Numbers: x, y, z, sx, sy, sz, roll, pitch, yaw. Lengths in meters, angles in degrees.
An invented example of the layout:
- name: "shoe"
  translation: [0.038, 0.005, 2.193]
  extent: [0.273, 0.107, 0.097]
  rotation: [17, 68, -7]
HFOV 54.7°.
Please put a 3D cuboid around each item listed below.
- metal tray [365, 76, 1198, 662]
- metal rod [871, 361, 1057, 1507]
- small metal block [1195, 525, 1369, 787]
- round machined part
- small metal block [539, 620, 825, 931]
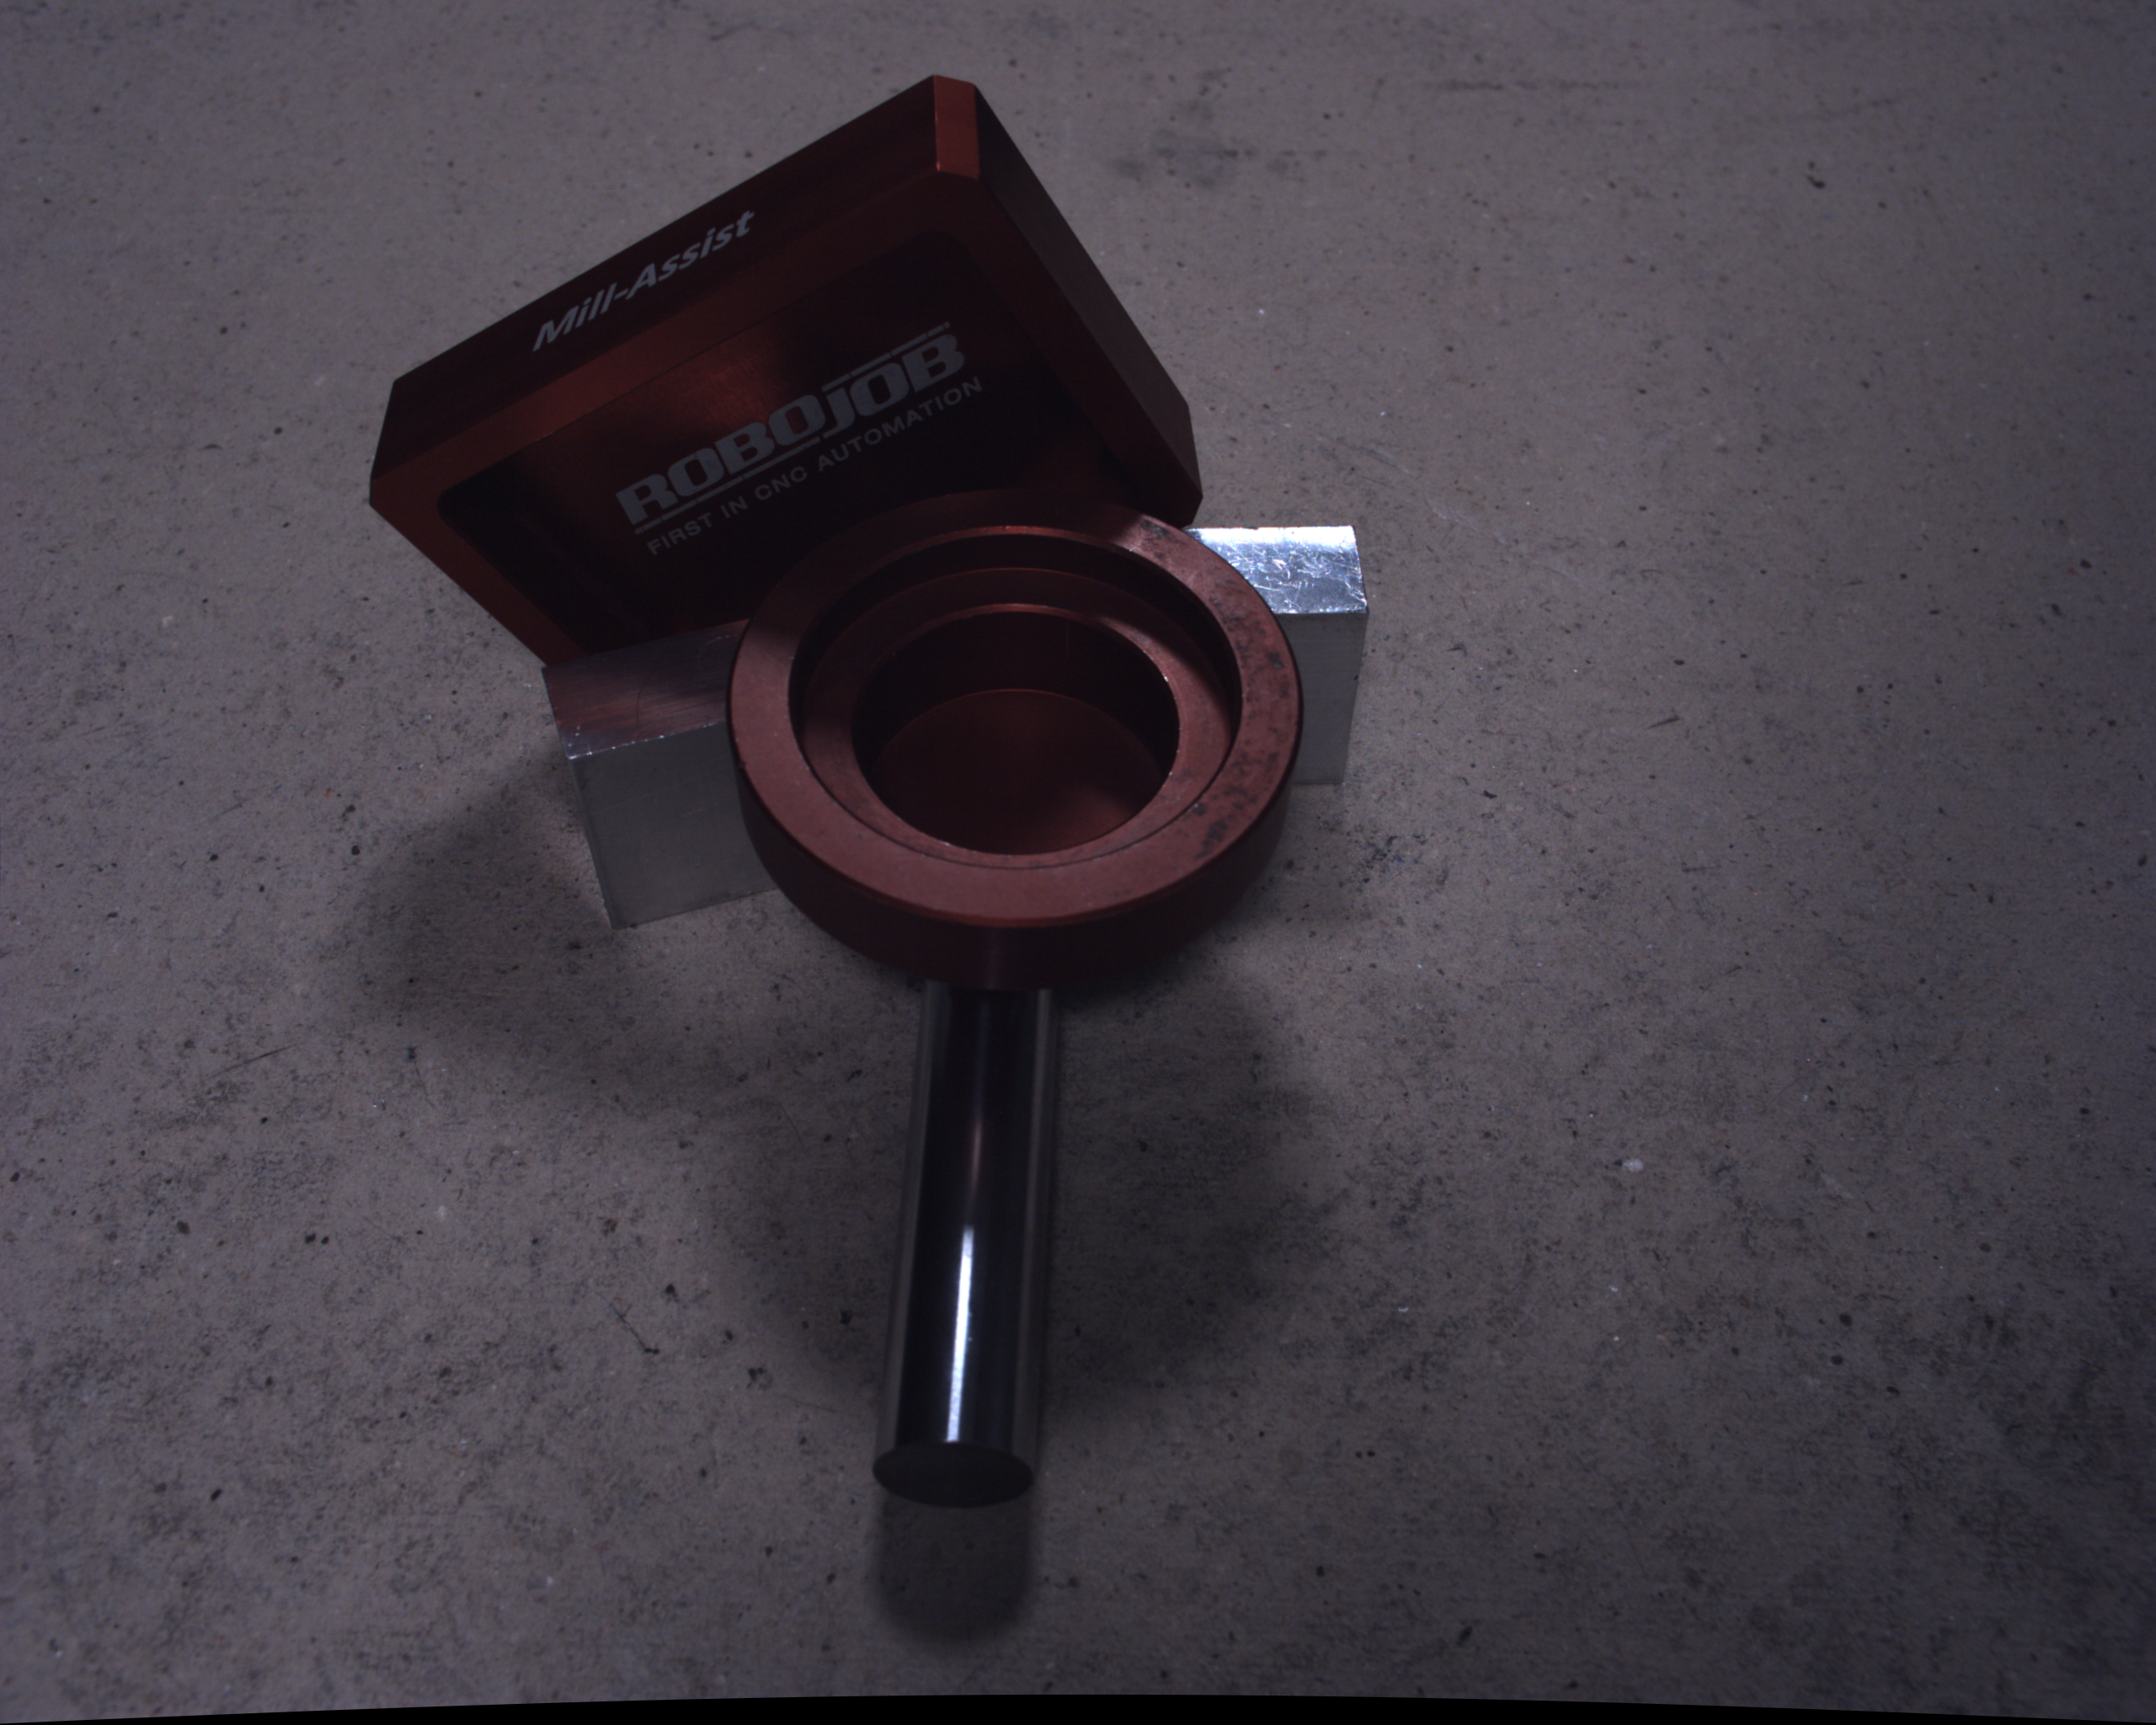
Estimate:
- name: "metal tray"
  translation: [-0.055, -0.078, 0.397]
  extent: [0.130, 0.090, 0.030]
  rotation: [-23, 46, 19]
- name: "metal rod"
  translation: [-0.014, -0.019, 0.421]
  extent: [0.025, 0.025, 0.300]
  rotation: [2, 50, 1]
- name: "small metal block"
  translation: [0.030, -0.041, 0.423]
  extent: [0.050, 0.050, 0.025]
  rotation: [-1, 50, -2]
- name: "round machined part"
  translation: [-0.011, -0.018, 0.373]
  extent: [0.099, 0.042, 0.098]
  rotation: [2, 53, -2]
- name: "small metal block"
  translation: [-0.072, -0.018, 0.402]
  extent: [0.050, 0.050, 0.025]
  rotation: [-15, 52, -13]
